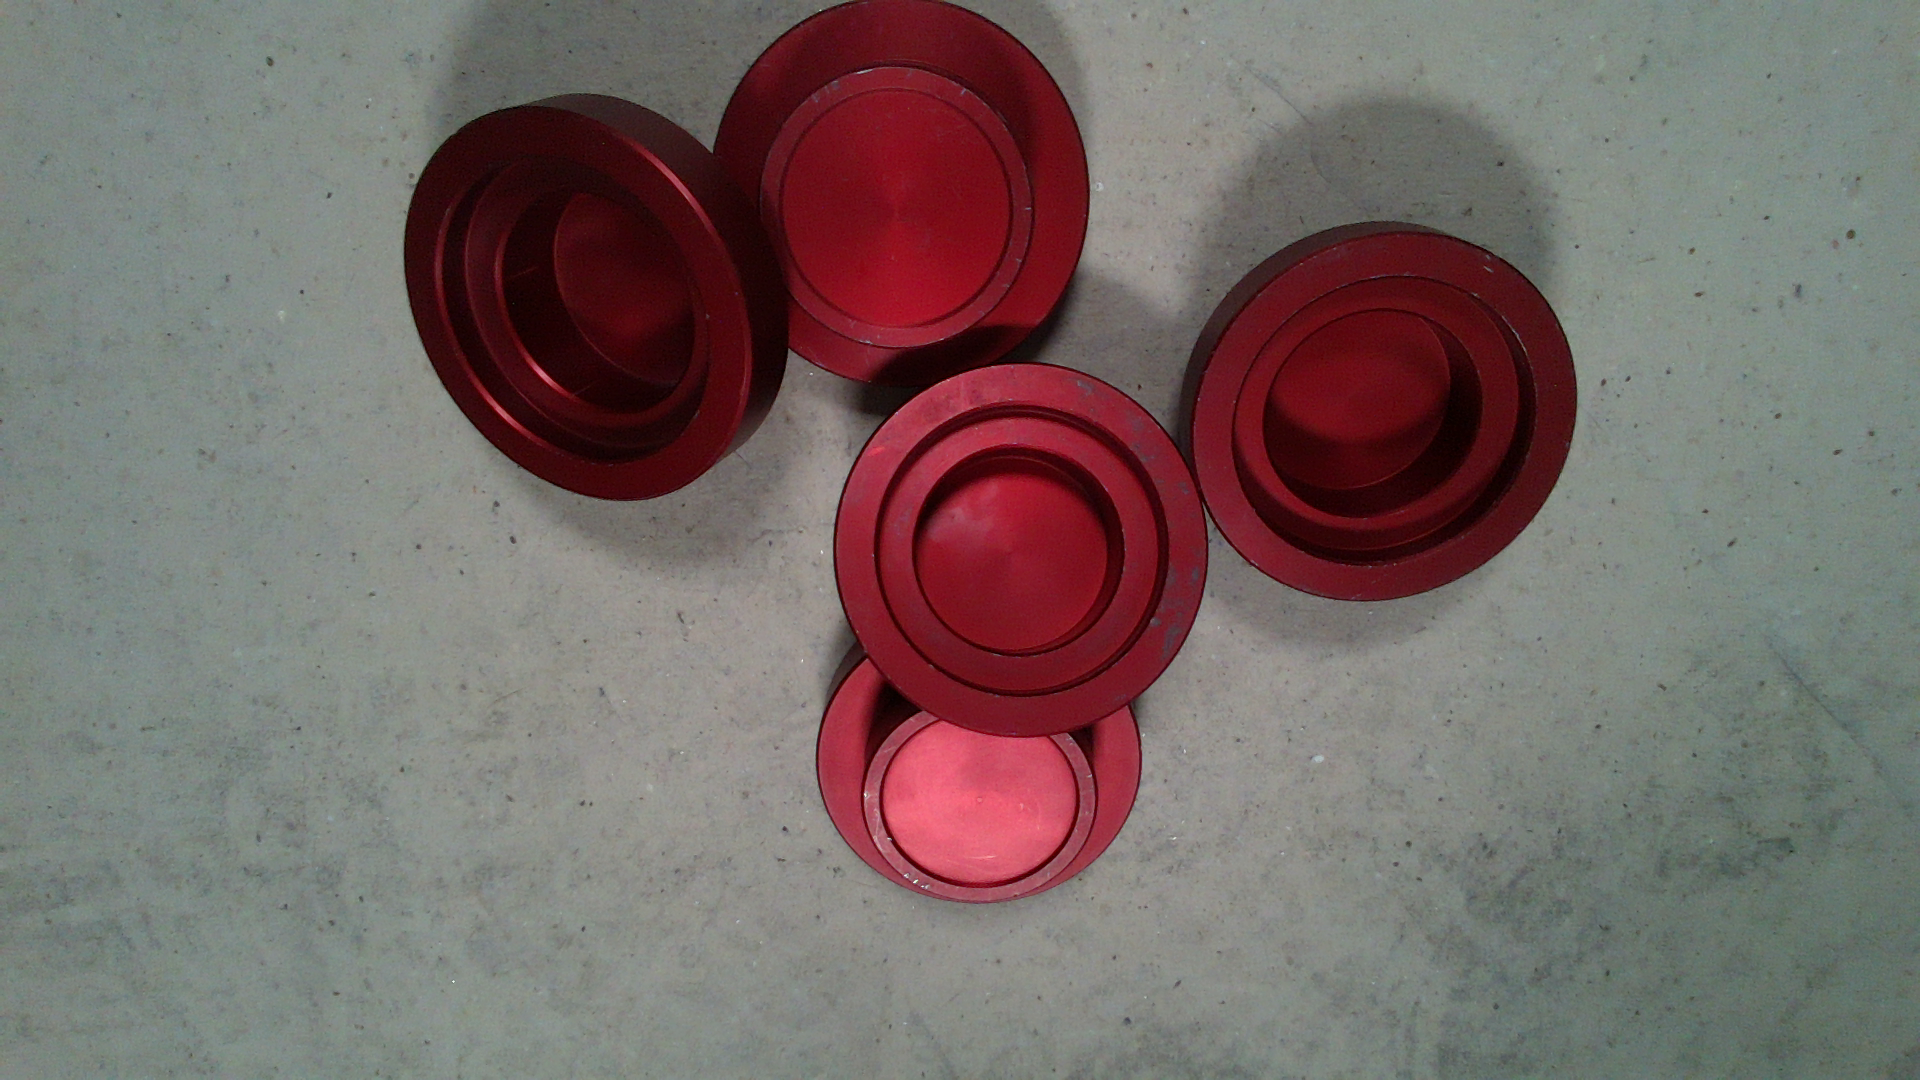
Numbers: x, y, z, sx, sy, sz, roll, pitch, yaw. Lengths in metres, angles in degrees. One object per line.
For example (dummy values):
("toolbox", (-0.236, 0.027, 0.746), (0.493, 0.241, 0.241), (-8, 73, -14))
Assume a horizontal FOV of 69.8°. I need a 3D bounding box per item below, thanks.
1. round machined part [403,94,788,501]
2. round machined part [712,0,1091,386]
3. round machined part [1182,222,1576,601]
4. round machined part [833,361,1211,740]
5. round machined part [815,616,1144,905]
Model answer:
("round machined part", (-0.087, -0.063, 0.350), (0.098, 0.042, 0.098), (10, 119, 19))
("round machined part", (-0.015, -0.087, 0.352), (0.098, 0.042, 0.098), (0, 110, 0))
("round machined part", (0.109, -0.036, 0.372), (0.098, 0.042, 0.098), (0, 110, 0))
("round machined part", (0.016, 0.003, 0.375), (0.098, 0.042, 0.098), (0, 87, -3))
("round machined part", (0.006, 0.068, 0.409), (0.098, 0.042, 0.098), (0, 110, 0))
